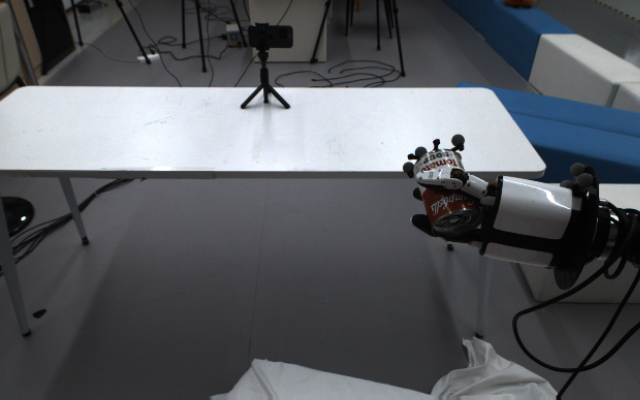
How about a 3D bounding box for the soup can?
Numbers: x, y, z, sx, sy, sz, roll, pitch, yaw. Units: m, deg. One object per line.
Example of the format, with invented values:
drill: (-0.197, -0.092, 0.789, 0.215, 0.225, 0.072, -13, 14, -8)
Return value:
soup can: (0.172, -0.012, 0.655, 0.067, 0.067, 0.101, -5, 57, -10)
